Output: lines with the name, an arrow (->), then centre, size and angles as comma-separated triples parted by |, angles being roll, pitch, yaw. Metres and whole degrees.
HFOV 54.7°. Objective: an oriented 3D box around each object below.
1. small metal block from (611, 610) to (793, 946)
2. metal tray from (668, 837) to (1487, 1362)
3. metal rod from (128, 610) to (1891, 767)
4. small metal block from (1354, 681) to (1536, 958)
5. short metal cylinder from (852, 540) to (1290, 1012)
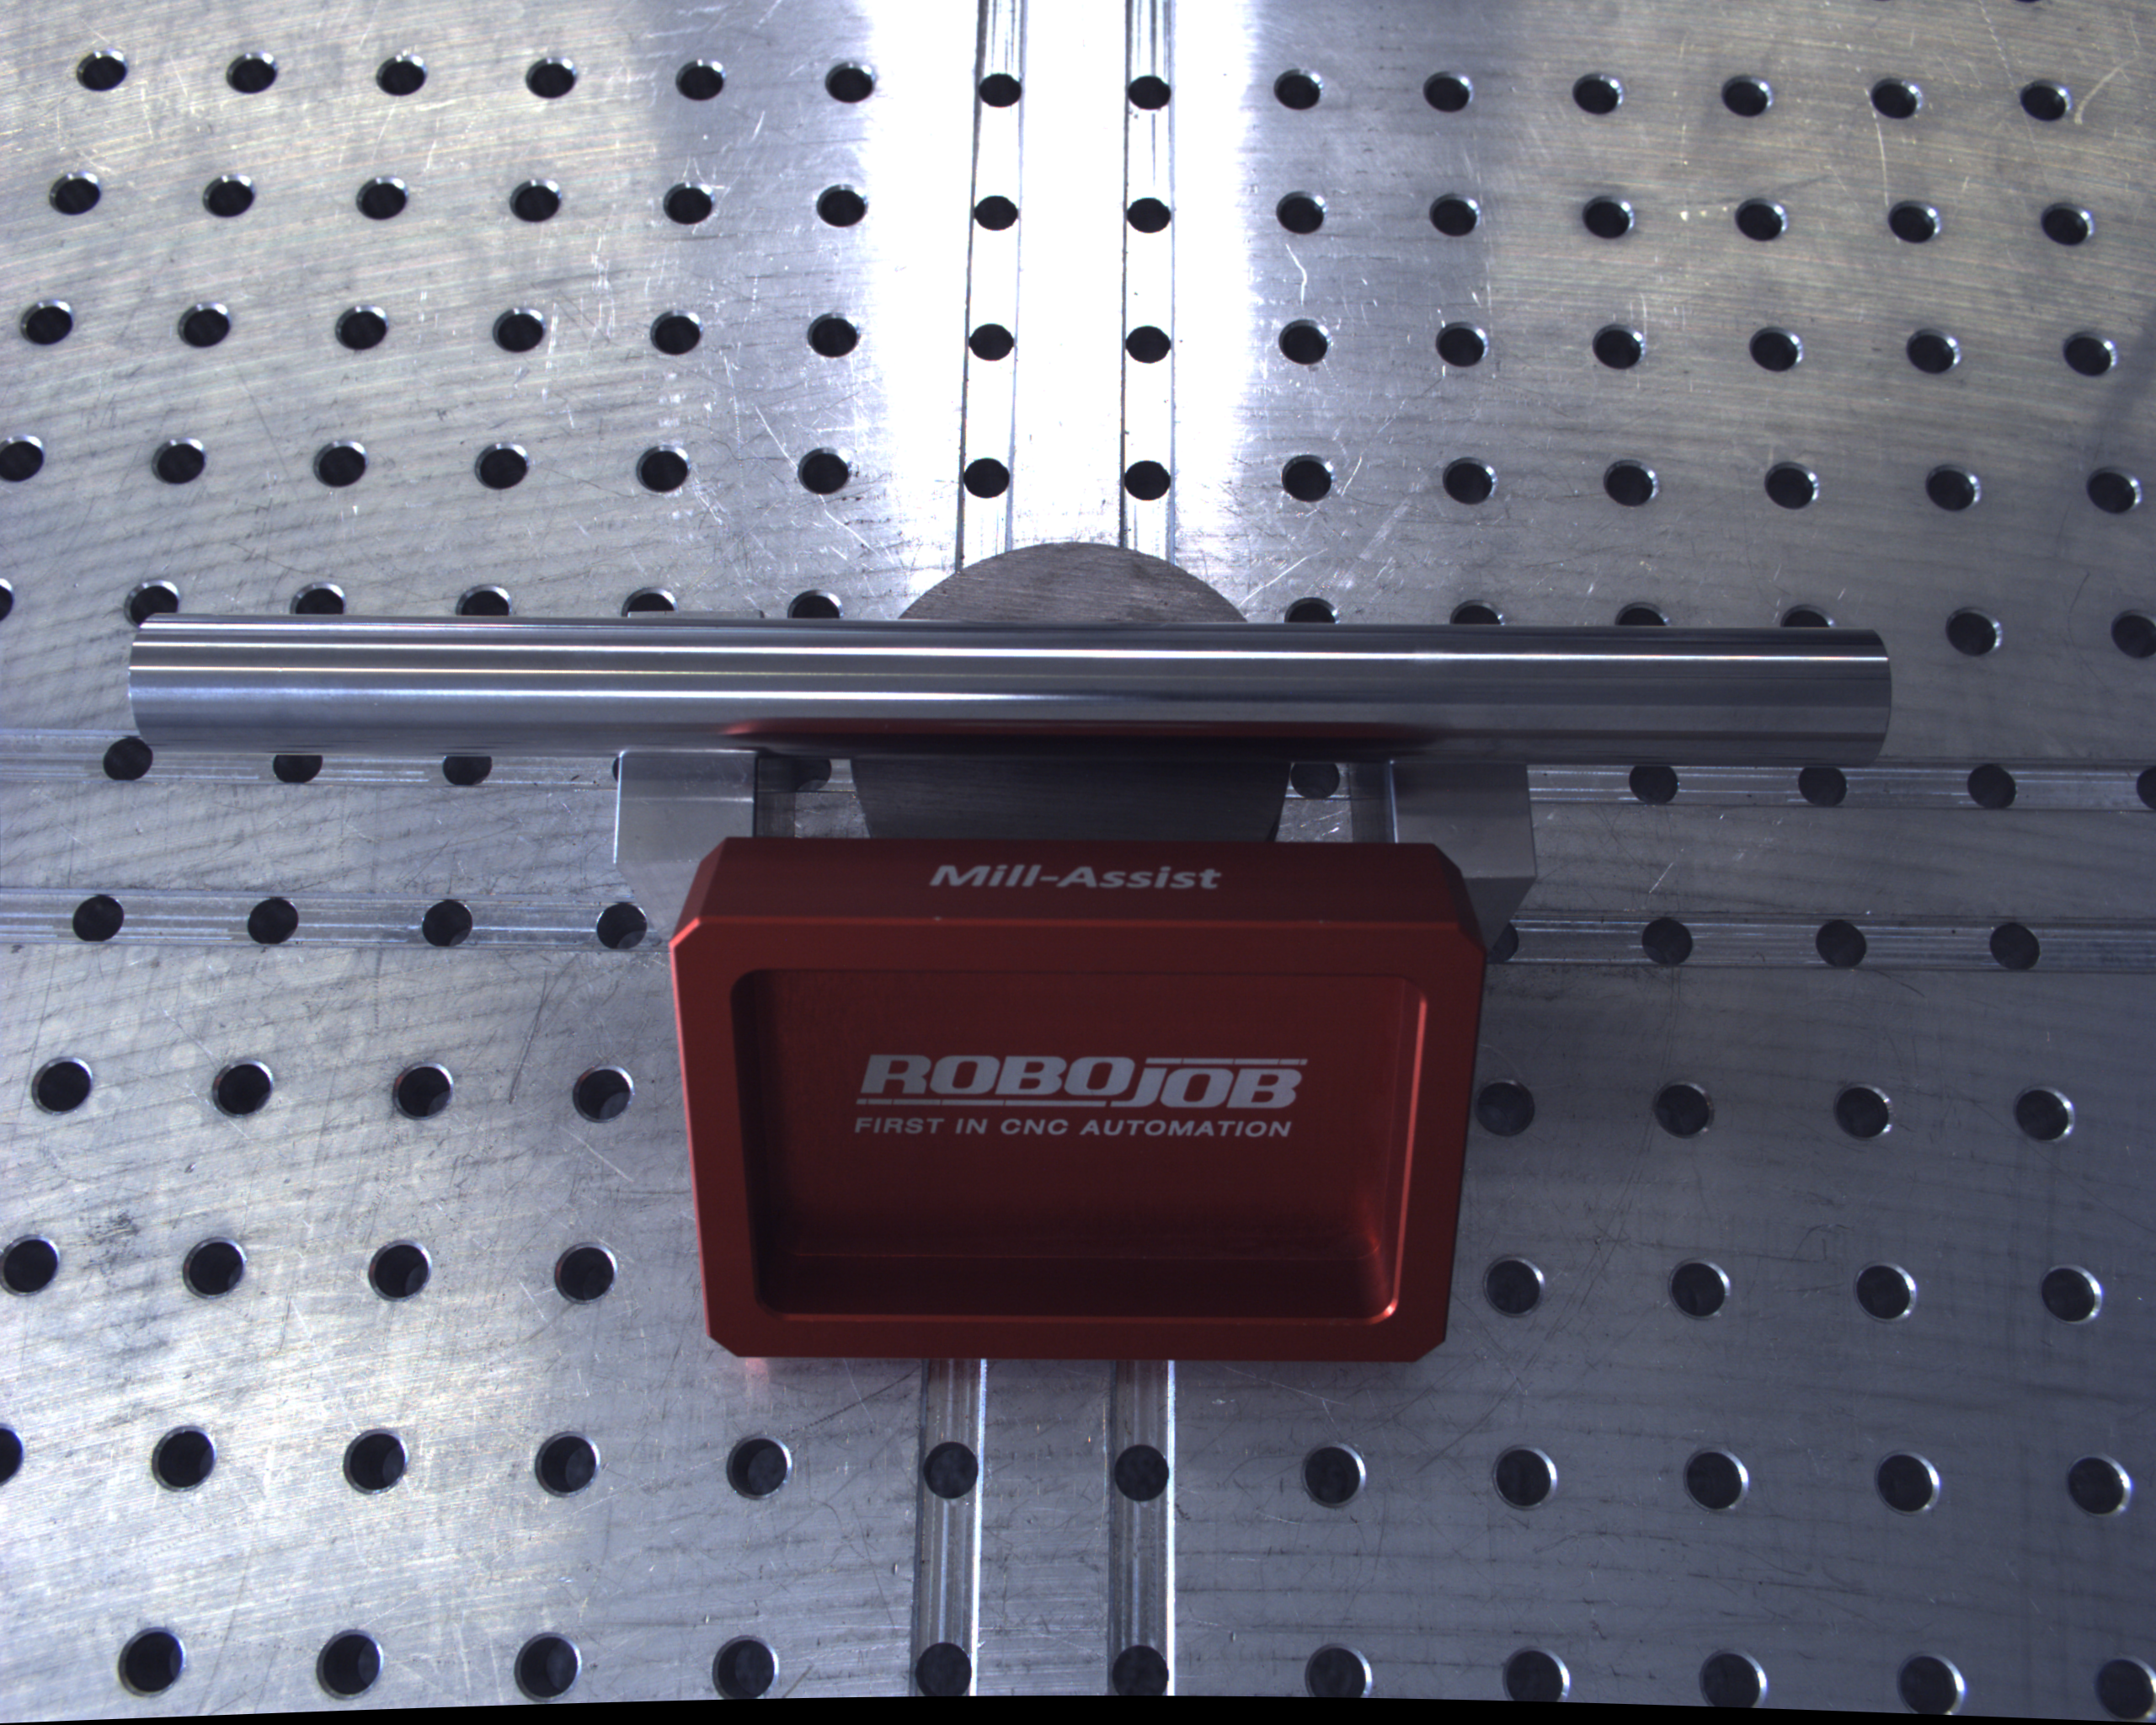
small metal block -> -0.071, -0.015, 0.404 | 0.025, 0.050, 0.050 | -1, 70, 0
metal tray -> 0.000, 0.042, 0.364 | 0.131, 0.089, 0.030 | 0, 27, 0
metal rod -> -0.012, -0.031, 0.369 | 0.302, 0.025, 0.025 | 1, 70, 0
small metal block -> 0.069, -0.012, 0.403 | 0.025, 0.050, 0.050 | -1, 70, 0
short metal cylinder -> -0.001, -0.015, 0.404 | 0.081, 0.050, 0.080 | 0, 70, 0
